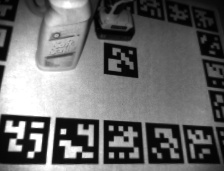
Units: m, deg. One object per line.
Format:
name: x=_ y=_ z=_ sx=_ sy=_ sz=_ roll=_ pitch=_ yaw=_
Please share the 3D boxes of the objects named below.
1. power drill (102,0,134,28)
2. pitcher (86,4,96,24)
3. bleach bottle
power drill: x=0.065 y=-0.222 z=0.550 sx=0.186 sy=0.186 sz=0.057 roll=3 pitch=72 yaw=-22
pitcher: x=-0.094 y=-0.227 z=0.489 sx=0.190 sy=0.241 sz=0.133 roll=-21 pitch=78 yaw=-23
bleach bottle: x=-0.101 y=-0.141 z=0.432 sx=0.103 sy=0.250 sz=0.067 roll=-1 pitch=70 yaw=-17
